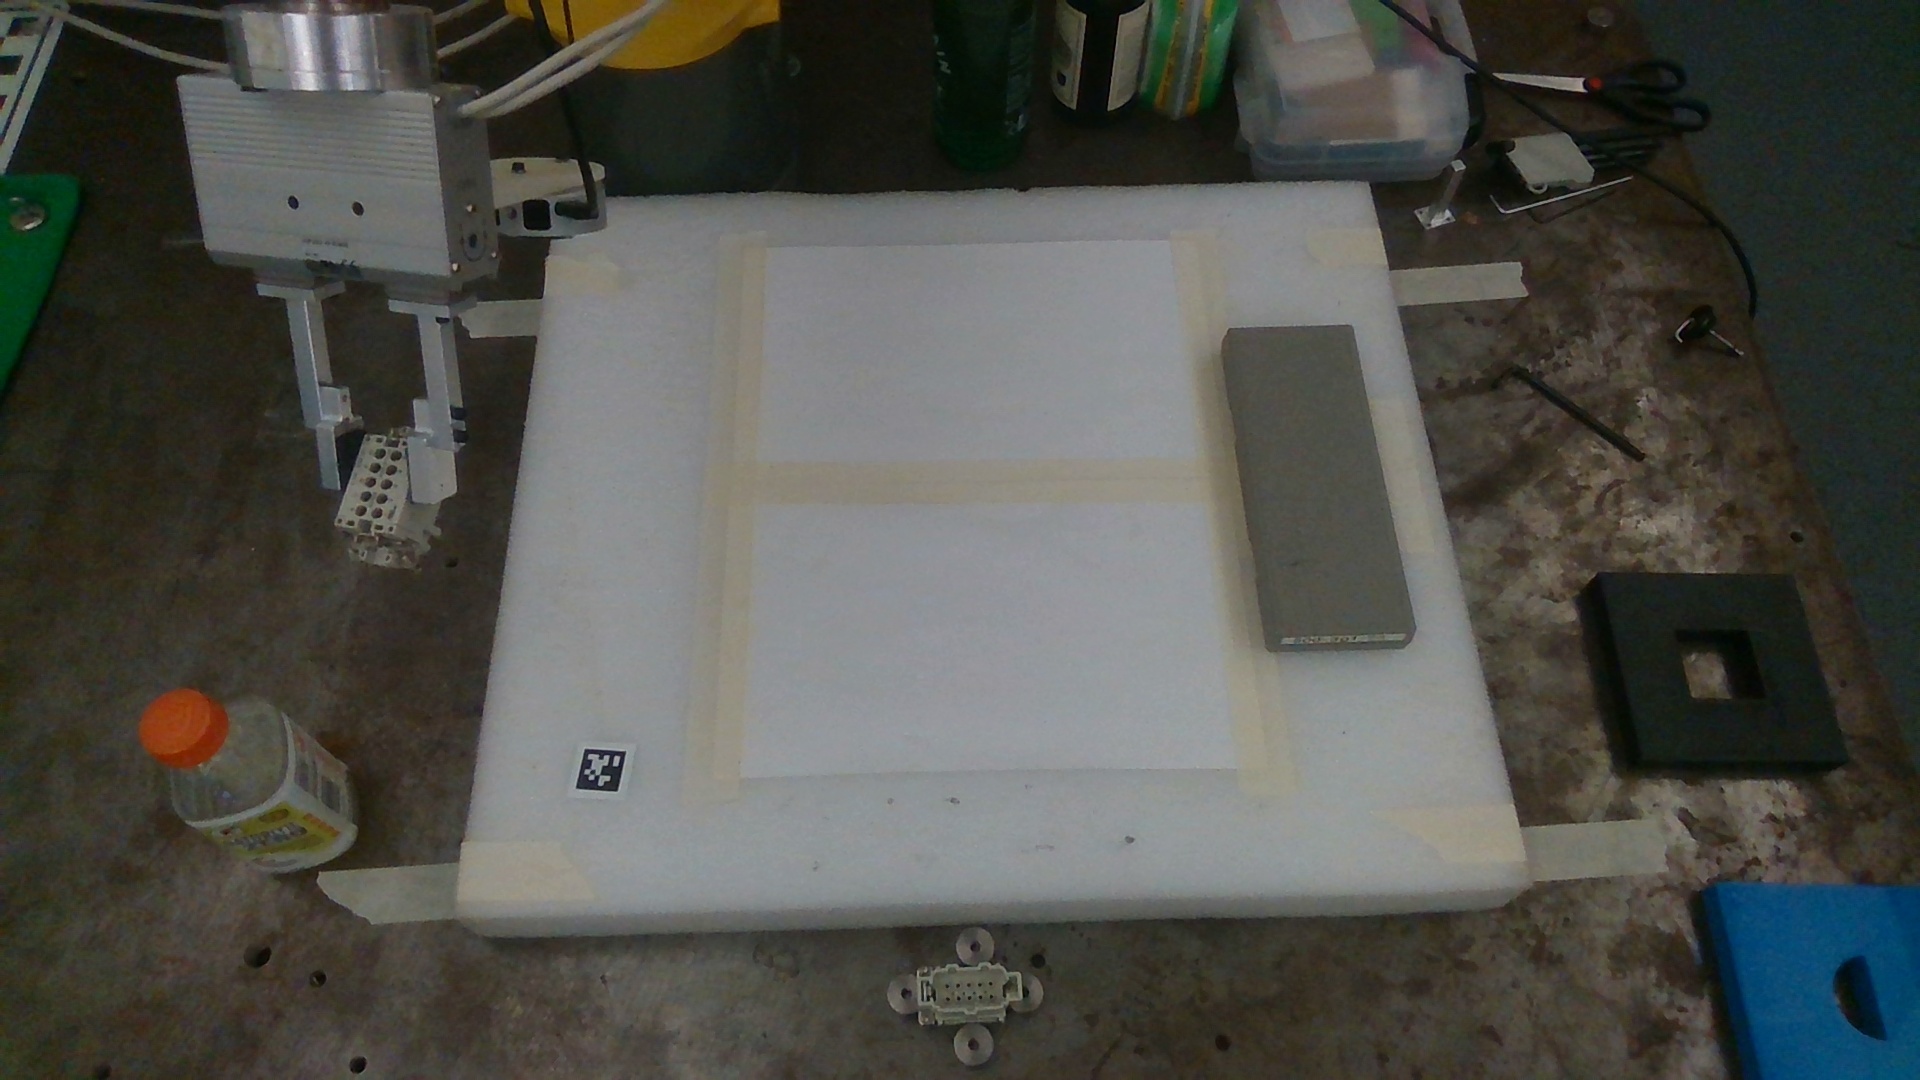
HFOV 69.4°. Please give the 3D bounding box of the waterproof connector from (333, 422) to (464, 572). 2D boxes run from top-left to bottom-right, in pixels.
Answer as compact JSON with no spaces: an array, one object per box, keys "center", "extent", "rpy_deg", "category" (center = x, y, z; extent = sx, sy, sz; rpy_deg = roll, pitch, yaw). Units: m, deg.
[{"center":[-0.256,-0.021,0.637],"extent":[0.037,0.038,0.069],"rpy_deg":[9,72,13],"category":"waterproof connector"}]
